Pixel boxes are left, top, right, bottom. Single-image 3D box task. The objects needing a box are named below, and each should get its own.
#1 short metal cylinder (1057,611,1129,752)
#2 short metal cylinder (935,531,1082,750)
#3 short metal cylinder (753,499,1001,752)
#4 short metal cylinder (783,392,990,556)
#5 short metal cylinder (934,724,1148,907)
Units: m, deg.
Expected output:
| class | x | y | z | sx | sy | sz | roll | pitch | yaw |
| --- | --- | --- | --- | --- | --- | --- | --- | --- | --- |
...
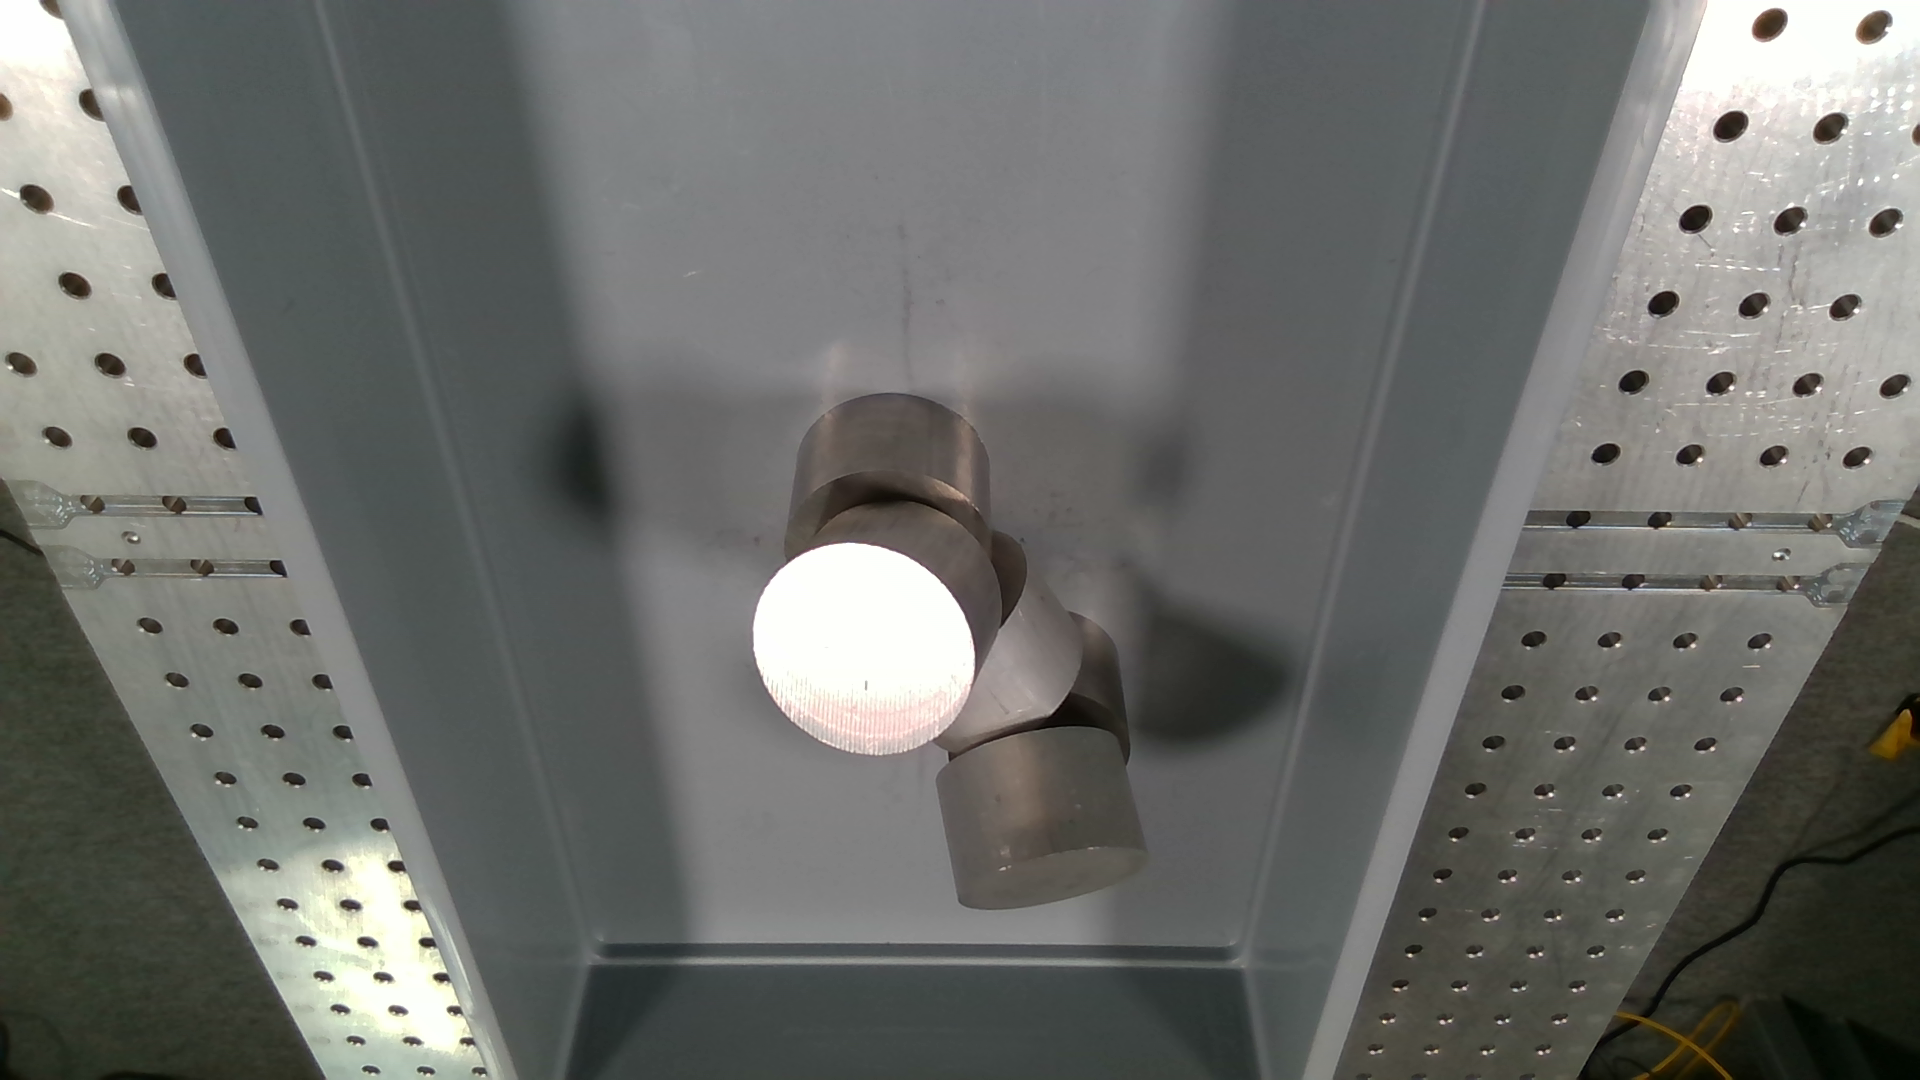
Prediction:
| class | x | y | z | sx | sy | sz | roll | pitch | yaw |
| --- | --- | --- | --- | --- | --- | --- | --- | --- | --- |
| short metal cylinder | 0.034 | 0.076 | 0.625 | 0.080 | 0.050 | 0.080 | 0 | 130 | 0 |
| short metal cylinder | 0.004 | 0.042 | 0.577 | 0.080 | 0.080 | 0.050 | -24 | 126 | 19 |
| short metal cylinder | -0.029 | 0.030 | 0.503 | 0.080 | 0.050 | 0.080 | 4 | 110 | 11 |
| short metal cylinder | -0.028 | -0.012 | 0.551 | 0.080 | 0.050 | 0.080 | 0 | 130 | 0 |
| short metal cylinder | 0.033 | 0.116 | 0.574 | 0.080 | 0.050 | 0.080 | -10 | 152 | -5 |
